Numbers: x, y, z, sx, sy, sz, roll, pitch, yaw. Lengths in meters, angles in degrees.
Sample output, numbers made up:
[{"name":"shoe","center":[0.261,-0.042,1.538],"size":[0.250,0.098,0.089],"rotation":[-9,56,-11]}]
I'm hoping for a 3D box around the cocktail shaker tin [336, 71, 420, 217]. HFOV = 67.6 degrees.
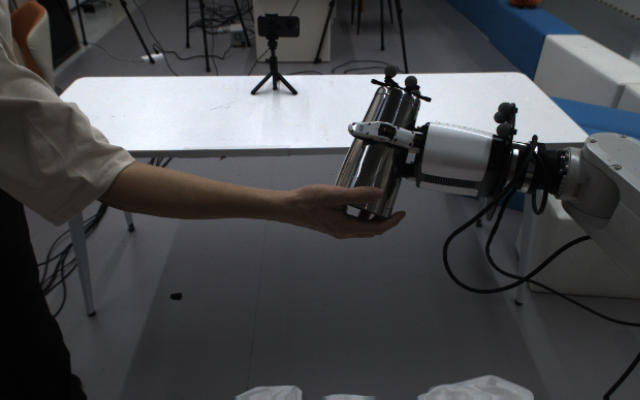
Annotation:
[{"name":"cocktail shaker tin","center":[0.084,-0.069,0.685],"size":[0.093,0.170,0.093],"rotation":[19,-1,0]}]
